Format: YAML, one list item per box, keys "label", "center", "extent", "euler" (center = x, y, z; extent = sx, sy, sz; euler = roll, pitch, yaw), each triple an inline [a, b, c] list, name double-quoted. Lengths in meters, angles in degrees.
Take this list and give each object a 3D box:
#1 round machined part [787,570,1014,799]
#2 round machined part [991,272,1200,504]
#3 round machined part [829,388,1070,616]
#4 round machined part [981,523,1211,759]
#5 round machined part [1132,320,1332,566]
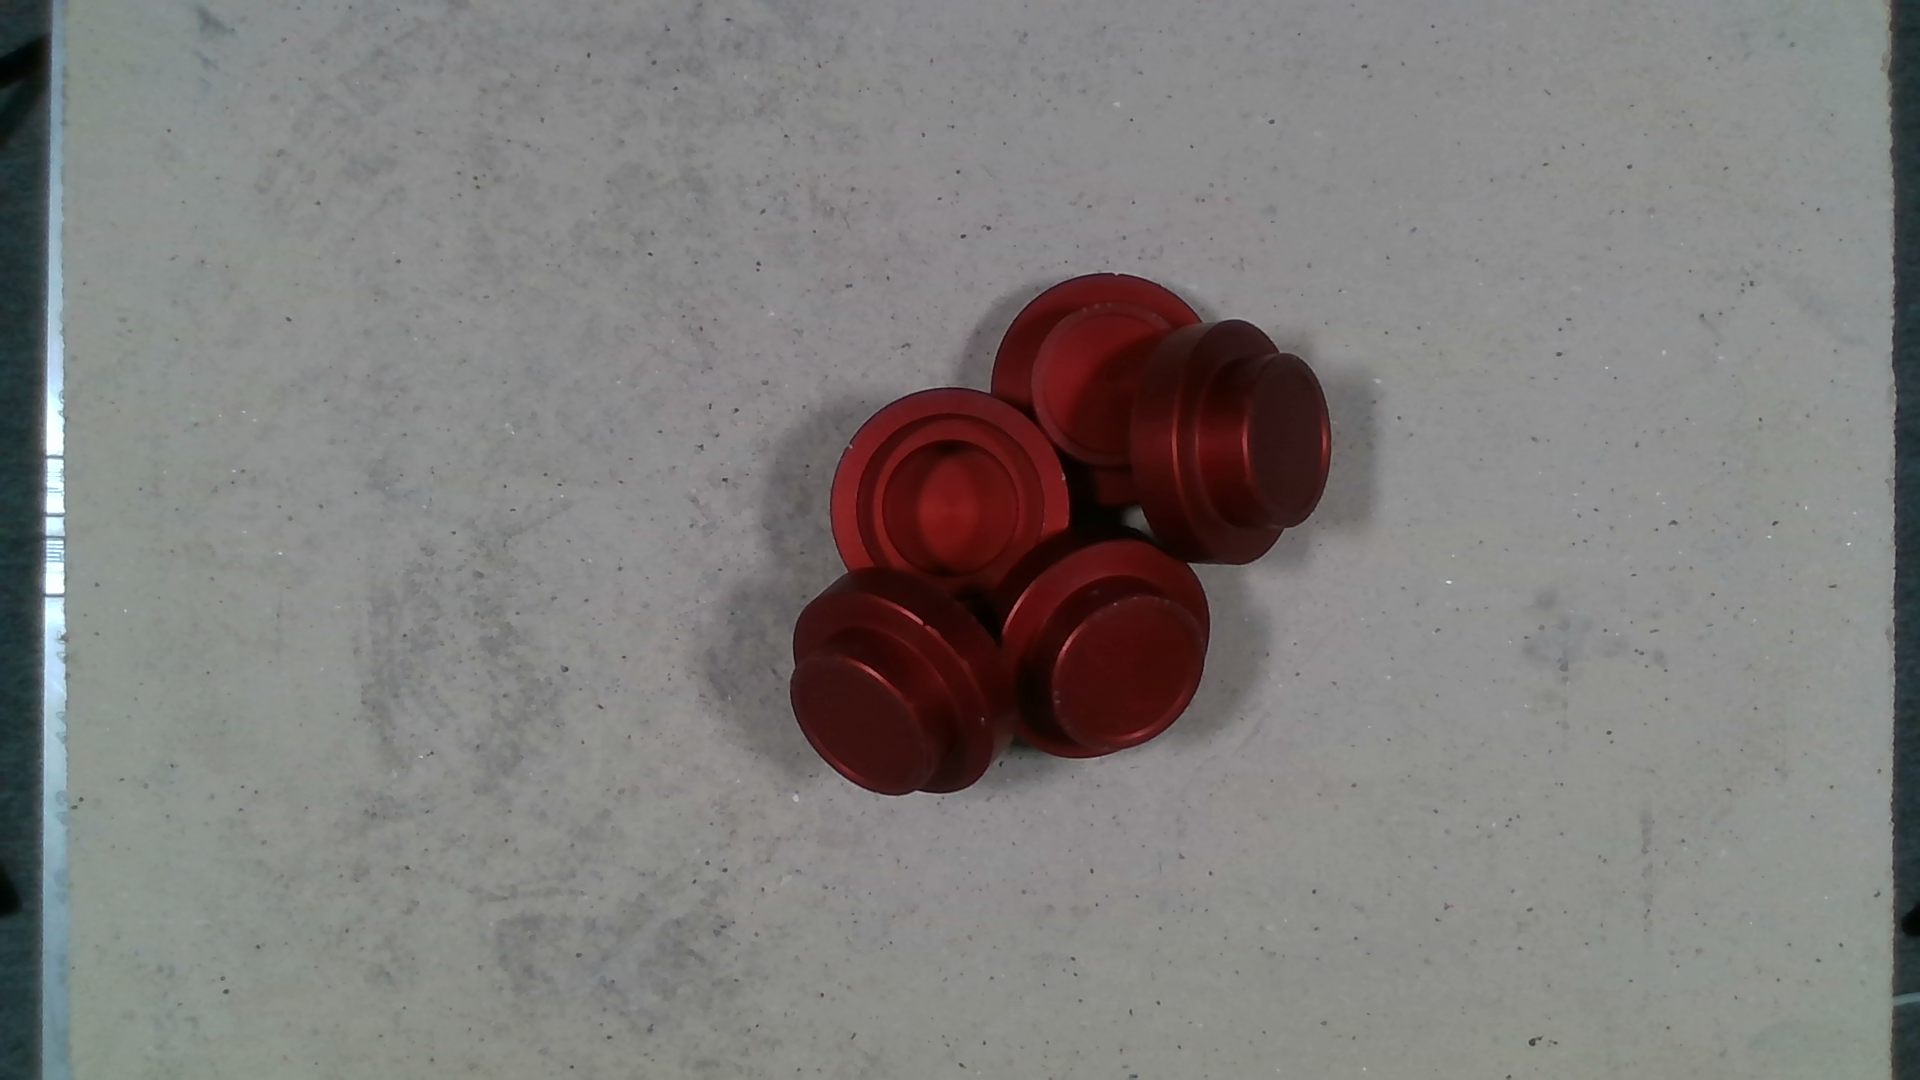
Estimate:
- label: "round machined part"
  center: [-0.030, 0.064, 0.551]
  extent: [0.098, 0.098, 0.042]
  euler: [47, 49, 0]
- label: "round machined part"
  center: [0.062, -0.064, 0.579]
  extent: [0.098, 0.042, 0.098]
  euler: [0, 90, 0]
- label: "round machined part"
  center: [-0.004, -0.013, 0.578]
  extent: [0.098, 0.042, 0.098]
  euler: [0, 90, 0]
- label: "round machined part"
  center: [0.060, 0.046, 0.557]
  extent: [0.098, 0.042, 0.098]
  euler: [-9, 114, -20]
- label: "round machined part"
  center: [0.114, -0.039, 0.549]
  extent: [0.042, 0.098, 0.098]
  euler: [1, 91, 42]
